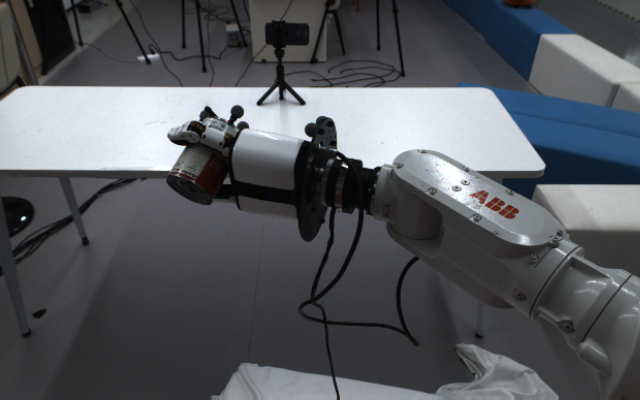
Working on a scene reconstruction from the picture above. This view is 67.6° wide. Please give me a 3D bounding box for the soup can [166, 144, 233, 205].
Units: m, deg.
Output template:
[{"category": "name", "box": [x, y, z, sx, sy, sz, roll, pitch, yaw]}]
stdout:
[{"category": "soup can", "box": [-0.152, -0.053, 0.651, 0.067, 0.067, 0.101, 16, 64, 19]}]
